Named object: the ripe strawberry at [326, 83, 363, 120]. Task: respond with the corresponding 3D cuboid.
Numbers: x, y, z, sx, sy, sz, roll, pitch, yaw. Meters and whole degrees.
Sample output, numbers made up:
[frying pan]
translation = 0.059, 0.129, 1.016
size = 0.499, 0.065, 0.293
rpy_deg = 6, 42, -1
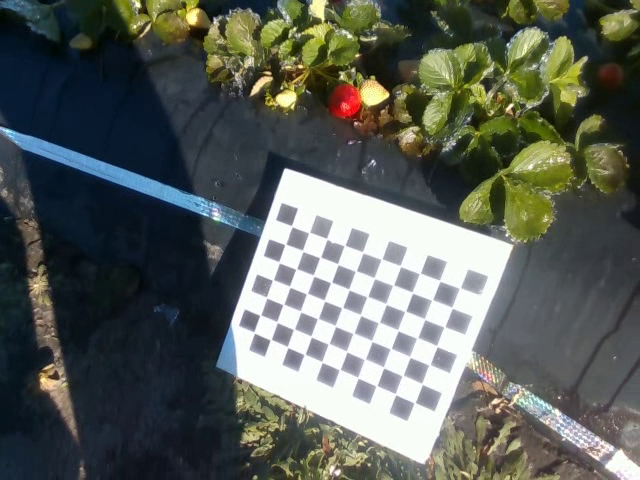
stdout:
[ripe strawberry]
translation = 0.027, -0.150, 0.698
size = 0.040, 0.042, 0.053
rpy_deg = -17, 21, 12
